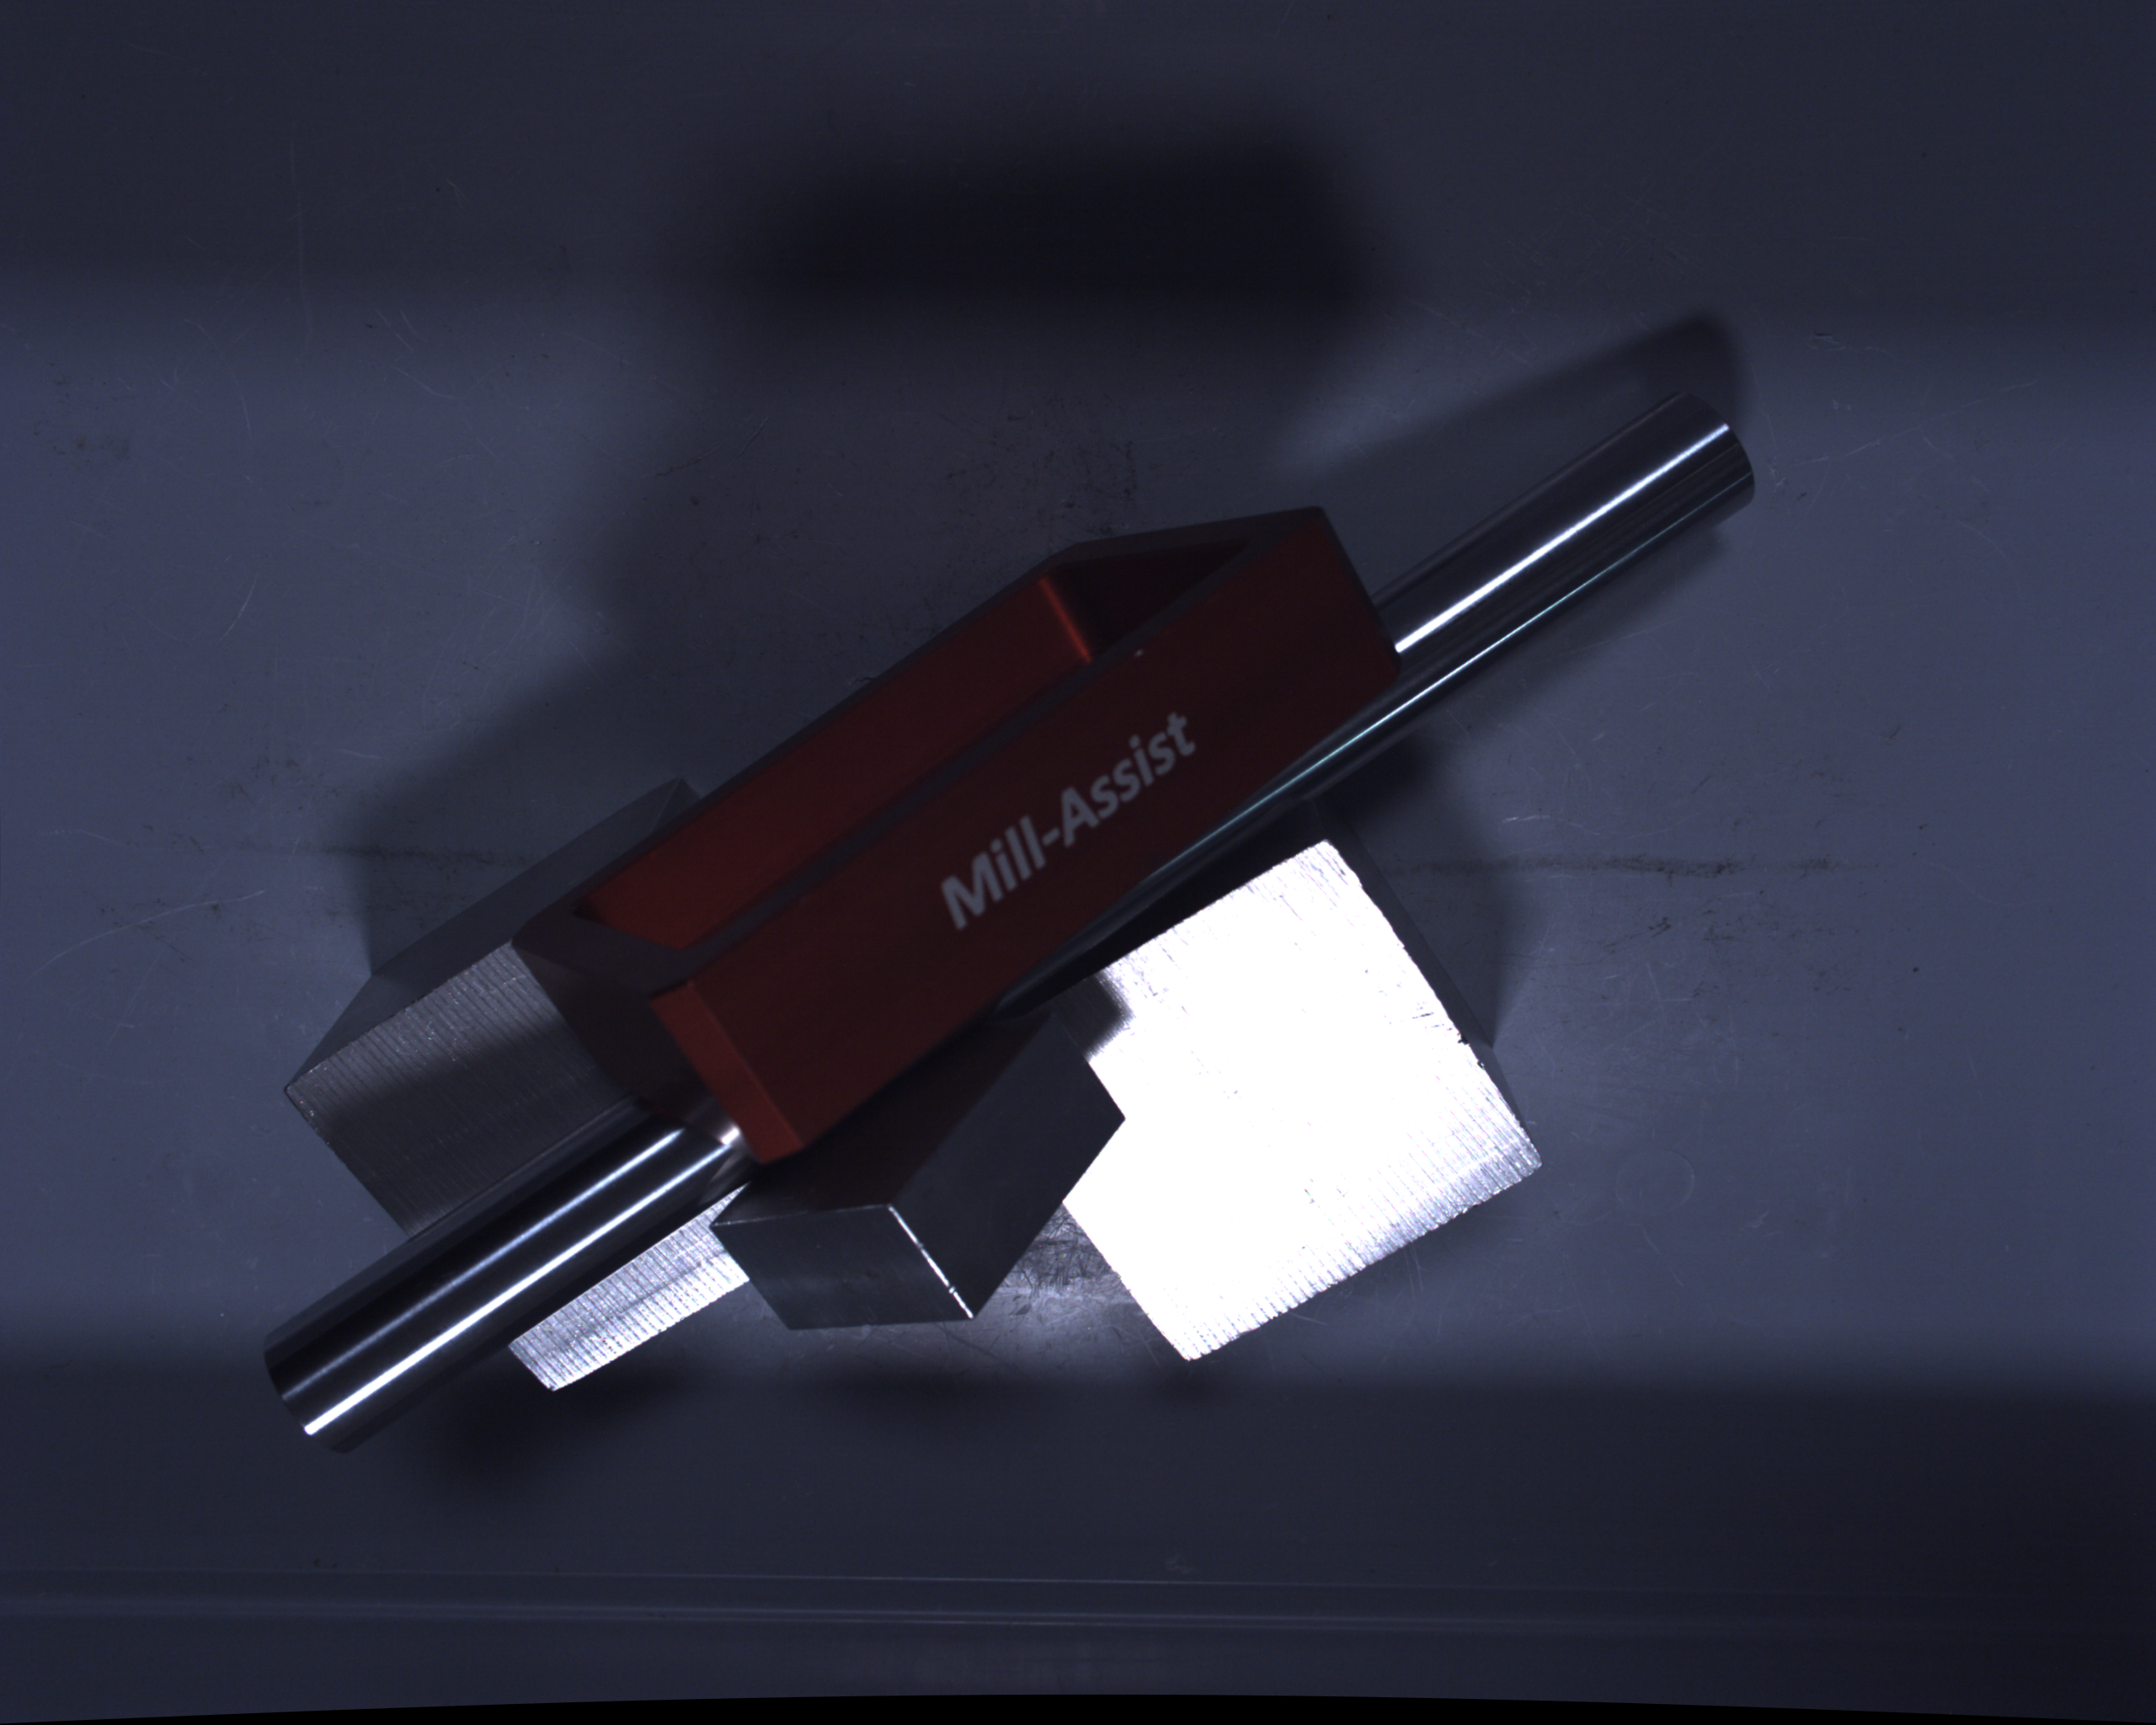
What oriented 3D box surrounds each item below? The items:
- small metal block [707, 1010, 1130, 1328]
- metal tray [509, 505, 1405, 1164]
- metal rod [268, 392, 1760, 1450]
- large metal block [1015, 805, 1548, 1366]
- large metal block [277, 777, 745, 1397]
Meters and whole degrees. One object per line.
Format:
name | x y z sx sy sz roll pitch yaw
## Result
small metal block | -0.028 0.054 0.364 0.050 0.050 0.025 -14 114 44
metal tray | -0.021 -0.010 0.343 0.131 0.090 0.030 -38 110 -21
metal rod | -0.007 0.007 0.373 0.301 0.025 0.025 -34 108 -5
large metal block | 0.033 0.038 0.411 0.080 0.050 0.080 -32 107 10
large metal block | -0.091 0.043 0.409 0.080 0.050 0.080 -32 107 10
